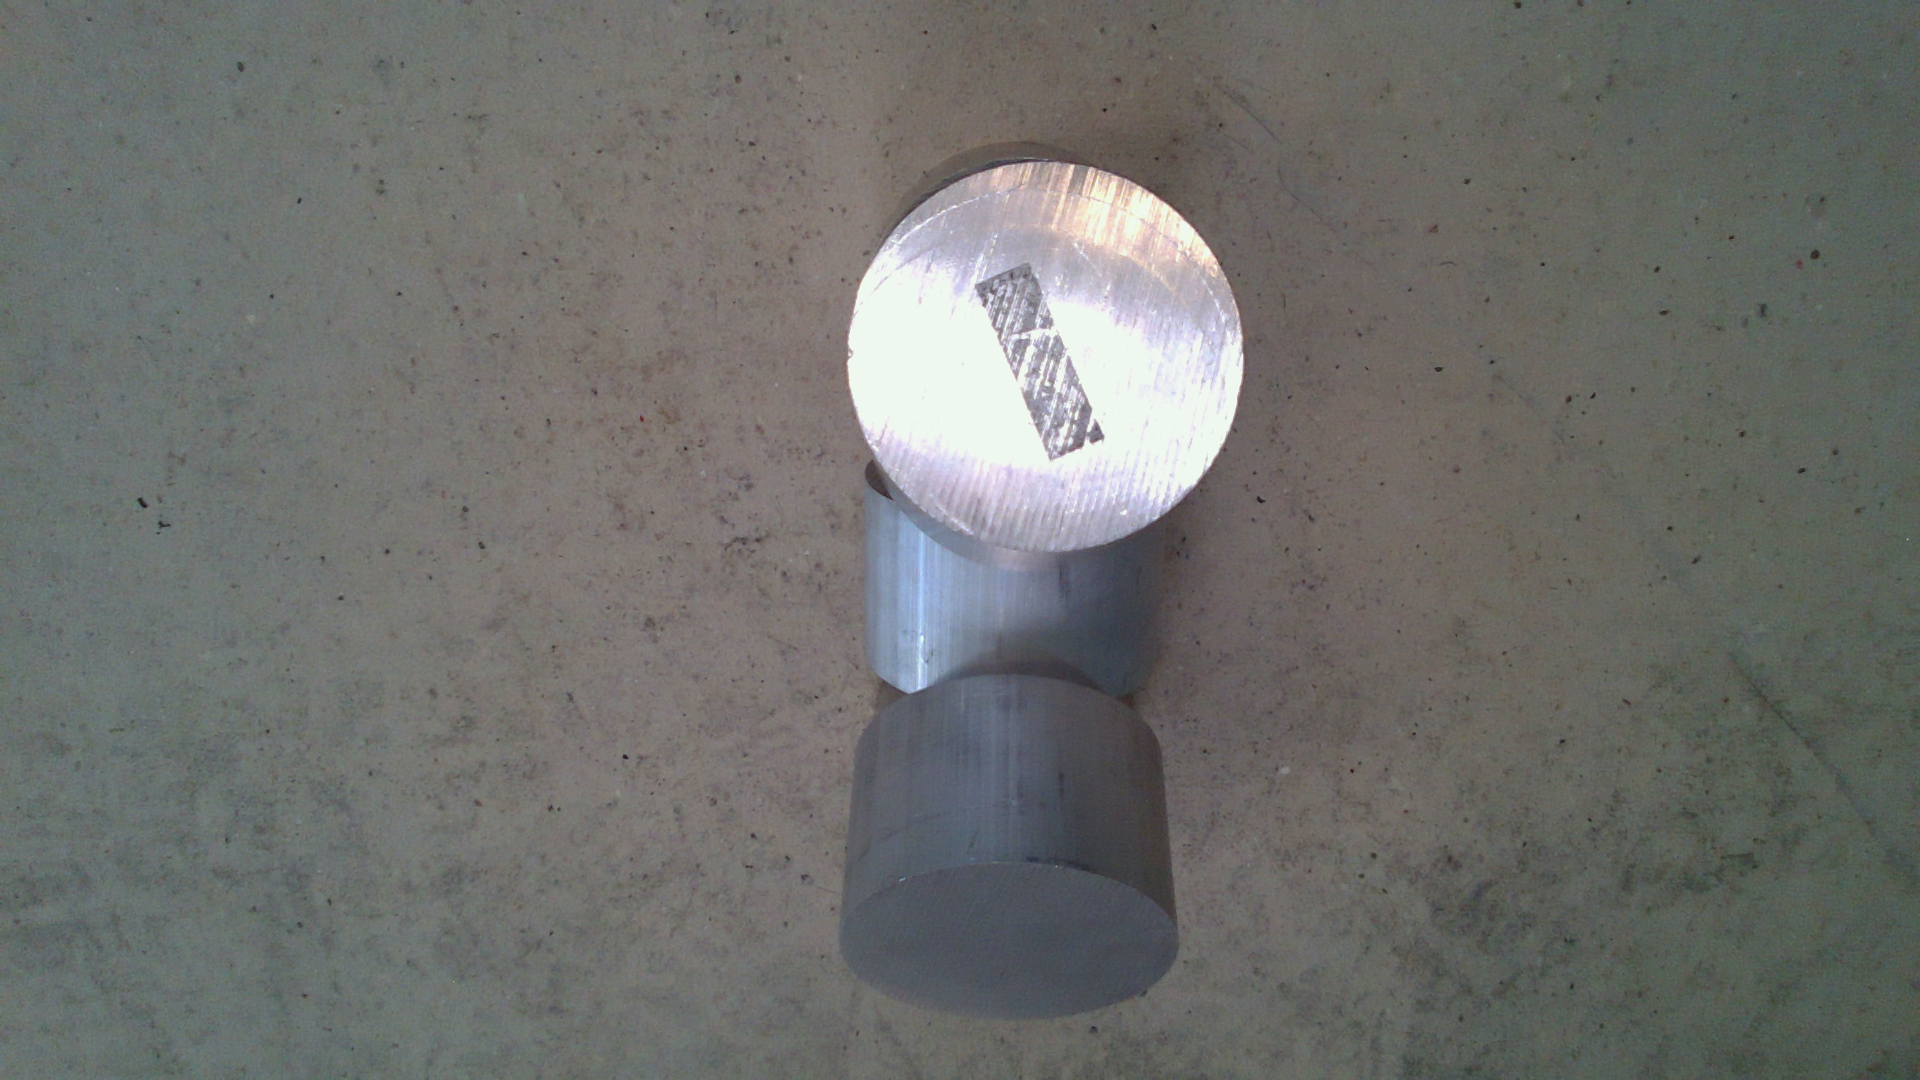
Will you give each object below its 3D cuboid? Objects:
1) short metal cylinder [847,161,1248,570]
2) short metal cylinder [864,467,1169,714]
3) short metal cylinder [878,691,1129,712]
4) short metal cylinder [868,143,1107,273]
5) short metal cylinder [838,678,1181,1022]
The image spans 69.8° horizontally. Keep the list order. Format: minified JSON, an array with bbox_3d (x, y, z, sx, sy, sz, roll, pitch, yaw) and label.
[{"bbox_3d":[0.017,-0.034,0.299,0.080,0.050,0.080,0,85,-1],"label":"short metal cylinder"},{"bbox_3d":[0.014,0.006,0.368,0.080,0.080,0.050,1,110,-1],"label":"short metal cylinder"},{"bbox_3d":[0.013,0.067,0.406,0.080,0.050,0.080,0,110,0],"label":"short metal cylinder"},{"bbox_3d":[0.015,-0.061,0.359,0.080,0.050,0.080,0,110,0],"label":"short metal cylinder"},{"bbox_3d":[0.012,0.078,0.339,0.080,0.050,0.080,1,138,1],"label":"short metal cylinder"}]
